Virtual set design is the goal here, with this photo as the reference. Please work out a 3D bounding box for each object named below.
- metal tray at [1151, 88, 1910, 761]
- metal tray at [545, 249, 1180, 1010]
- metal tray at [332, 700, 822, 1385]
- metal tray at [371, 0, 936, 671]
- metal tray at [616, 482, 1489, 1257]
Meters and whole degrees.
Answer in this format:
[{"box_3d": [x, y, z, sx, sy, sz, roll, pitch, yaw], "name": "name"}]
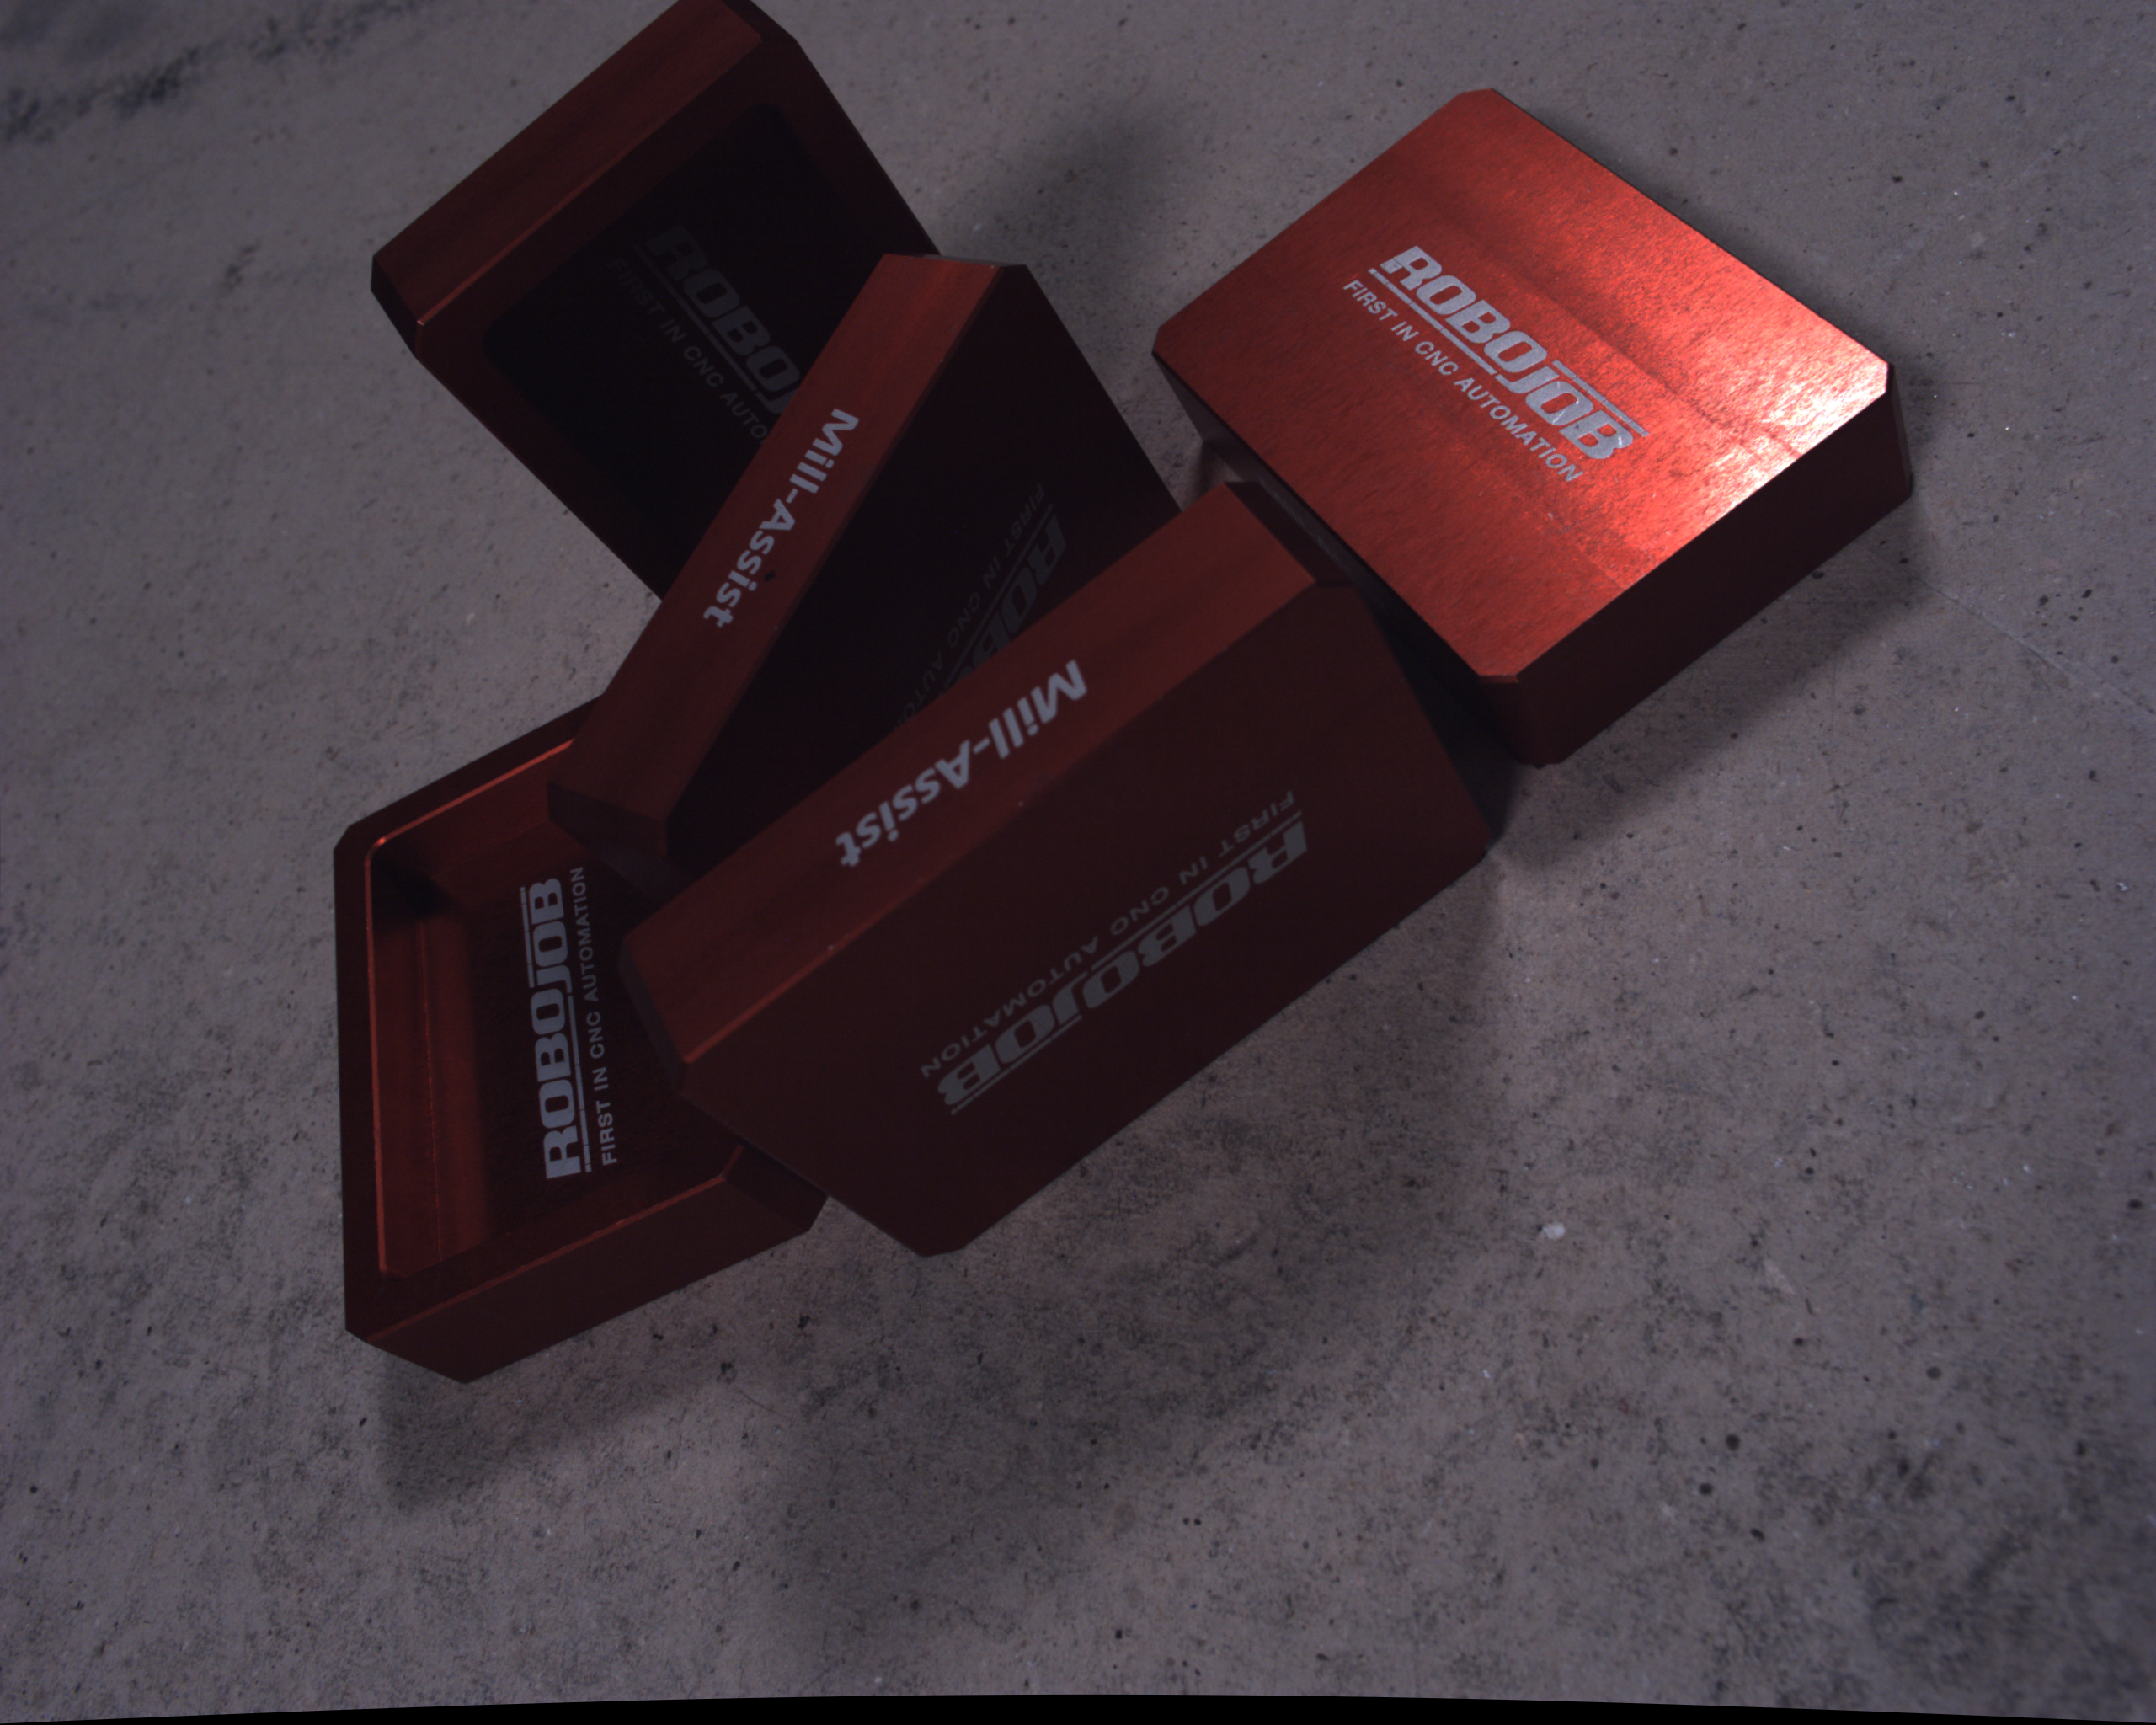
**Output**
[{"box_3d": [0.085, -0.091, 0.412, 0.090, 0.030, 0.130, -38, 51, 2], "name": "metal tray"}, {"box_3d": [-0.035, -0.041, 0.405, 0.030, 0.090, 0.130, 18, 71, 35], "name": "metal tray"}, {"box_3d": [-0.109, 0.031, 0.438, 0.090, 0.030, 0.130, -25, 53, 12], "name": "metal tray"}, {"box_3d": [-0.068, -0.101, 0.434, 0.090, 0.130, 0.030, -40, 52, 1], "name": "metal tray"}, {"box_3d": [0.000, 0.006, 0.359, 0.130, 0.090, 0.030, -37, 51, 3], "name": "metal tray"}]
